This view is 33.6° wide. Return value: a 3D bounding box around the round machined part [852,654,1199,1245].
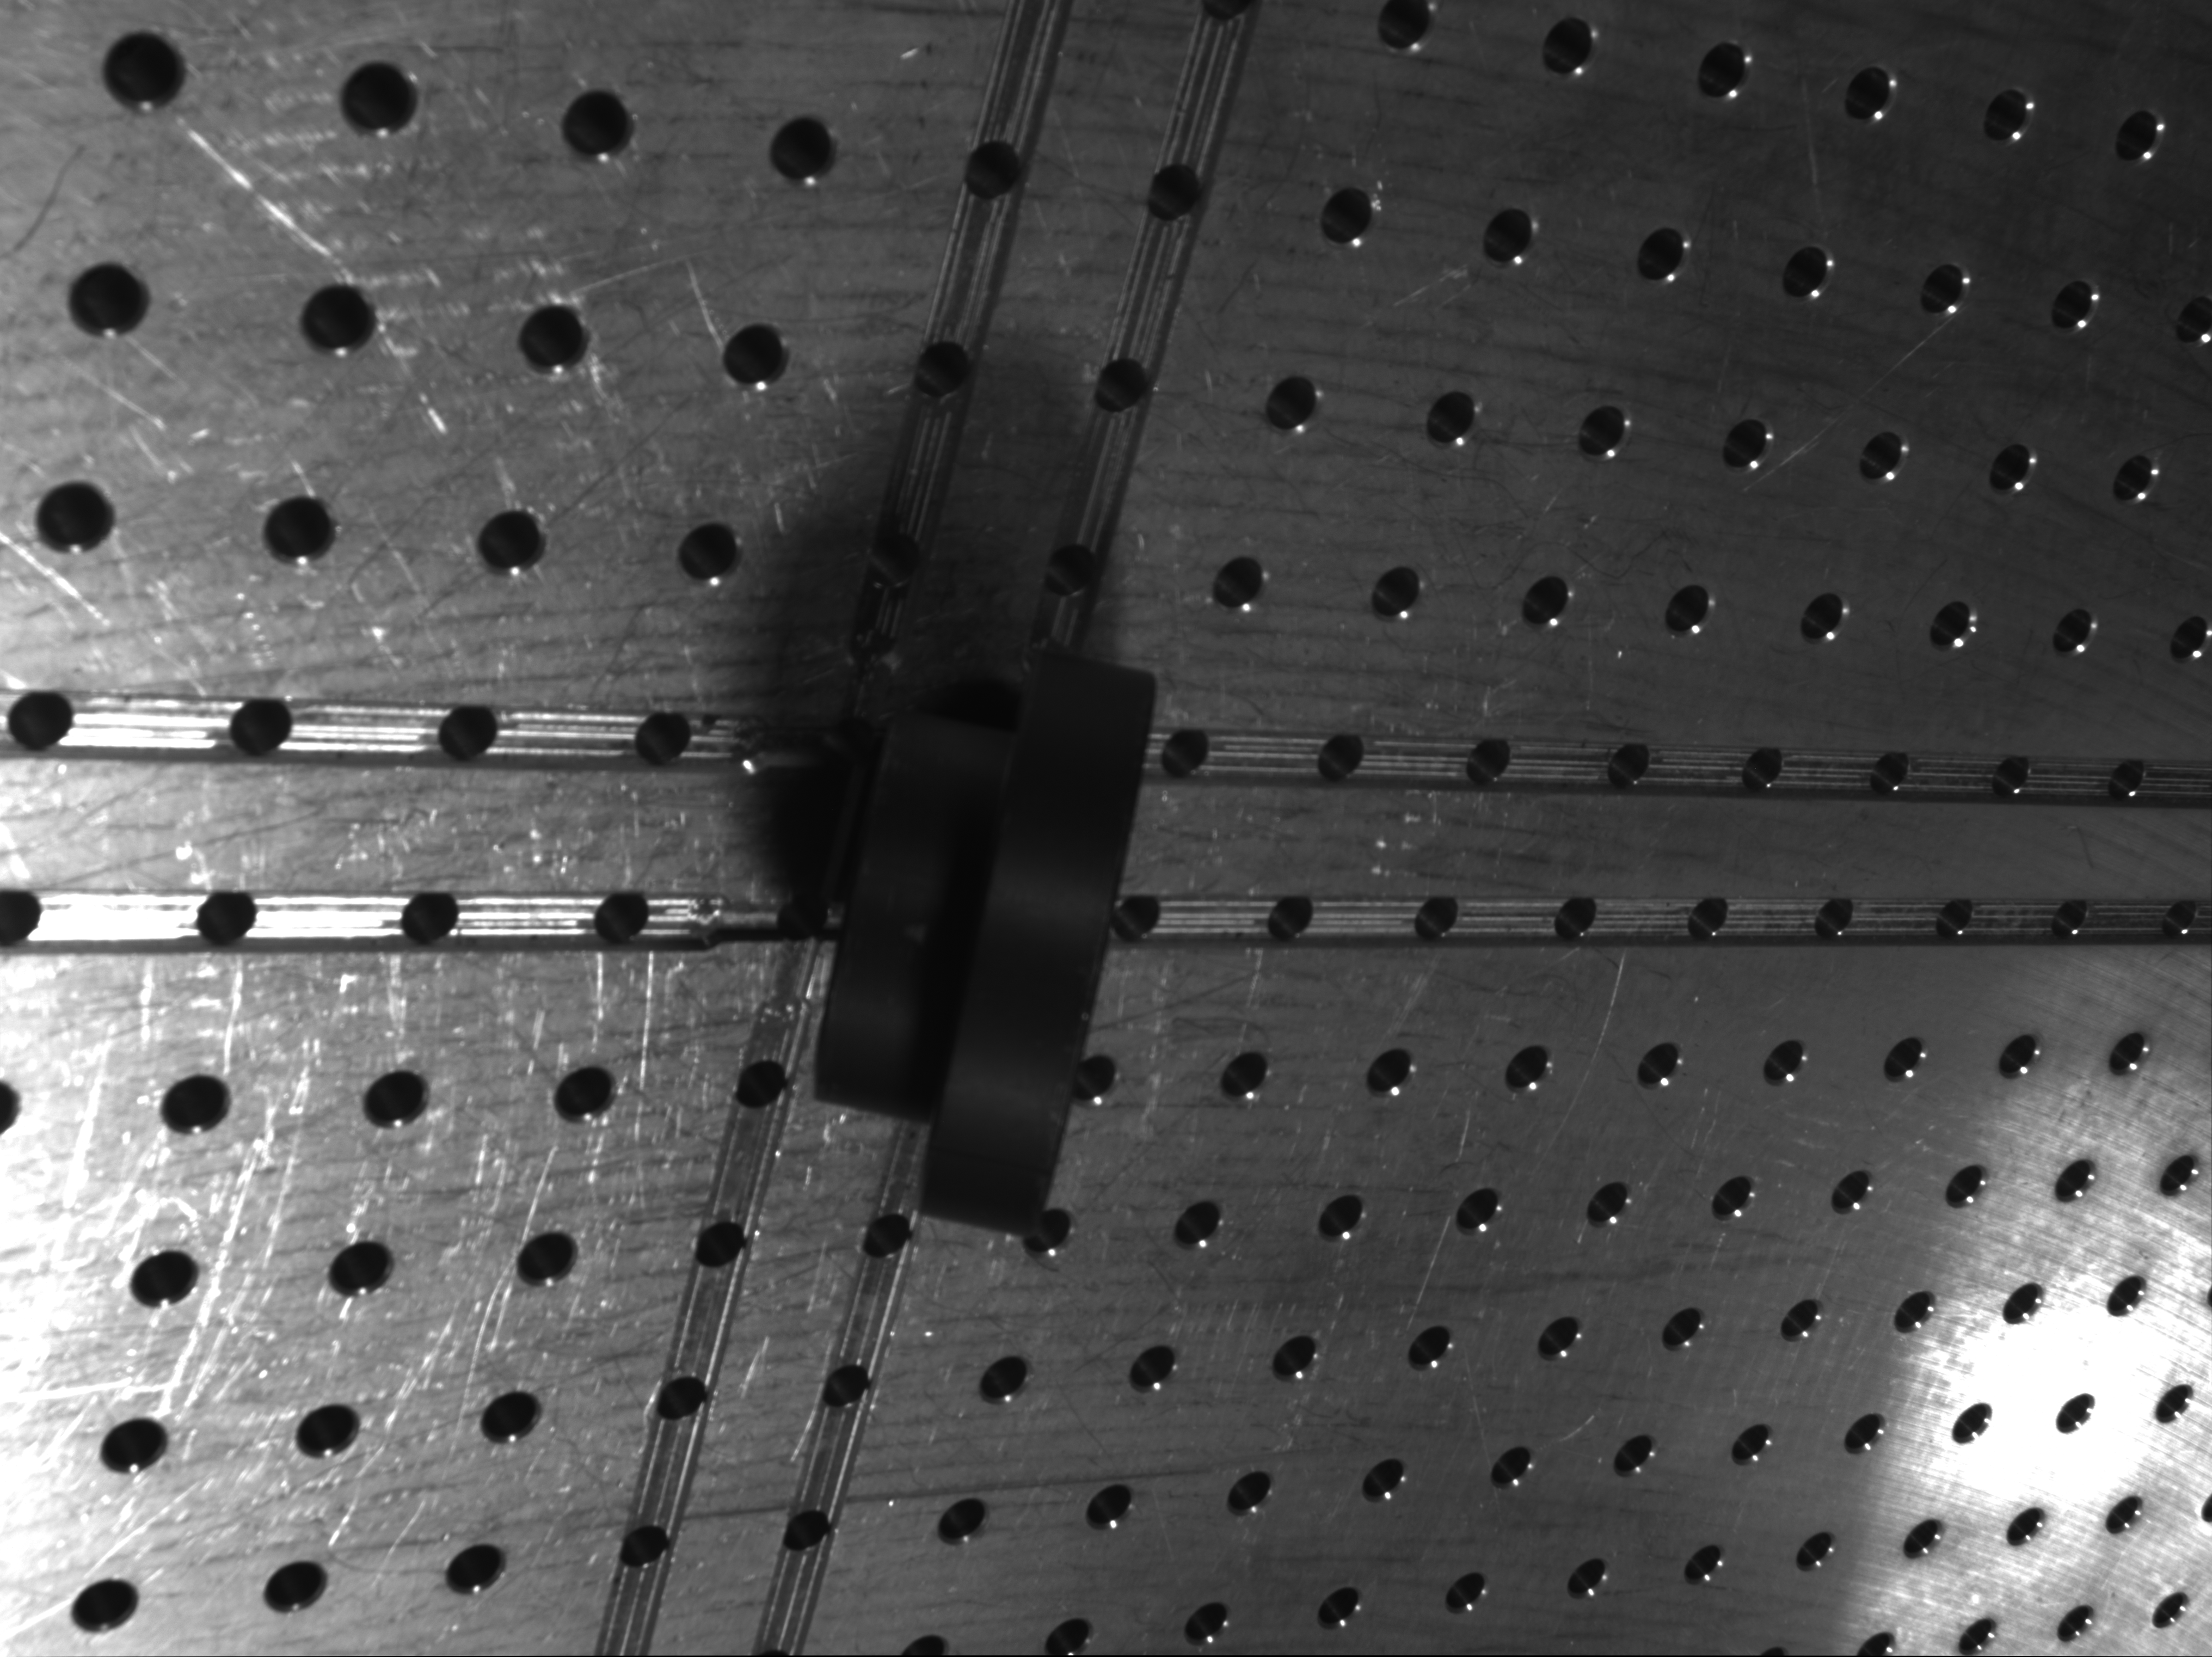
[{"bbox_3d":[-0.015,0.018,0.620,0.042,0.098,0.098,12,115,-1],"label":"round machined part"}]
